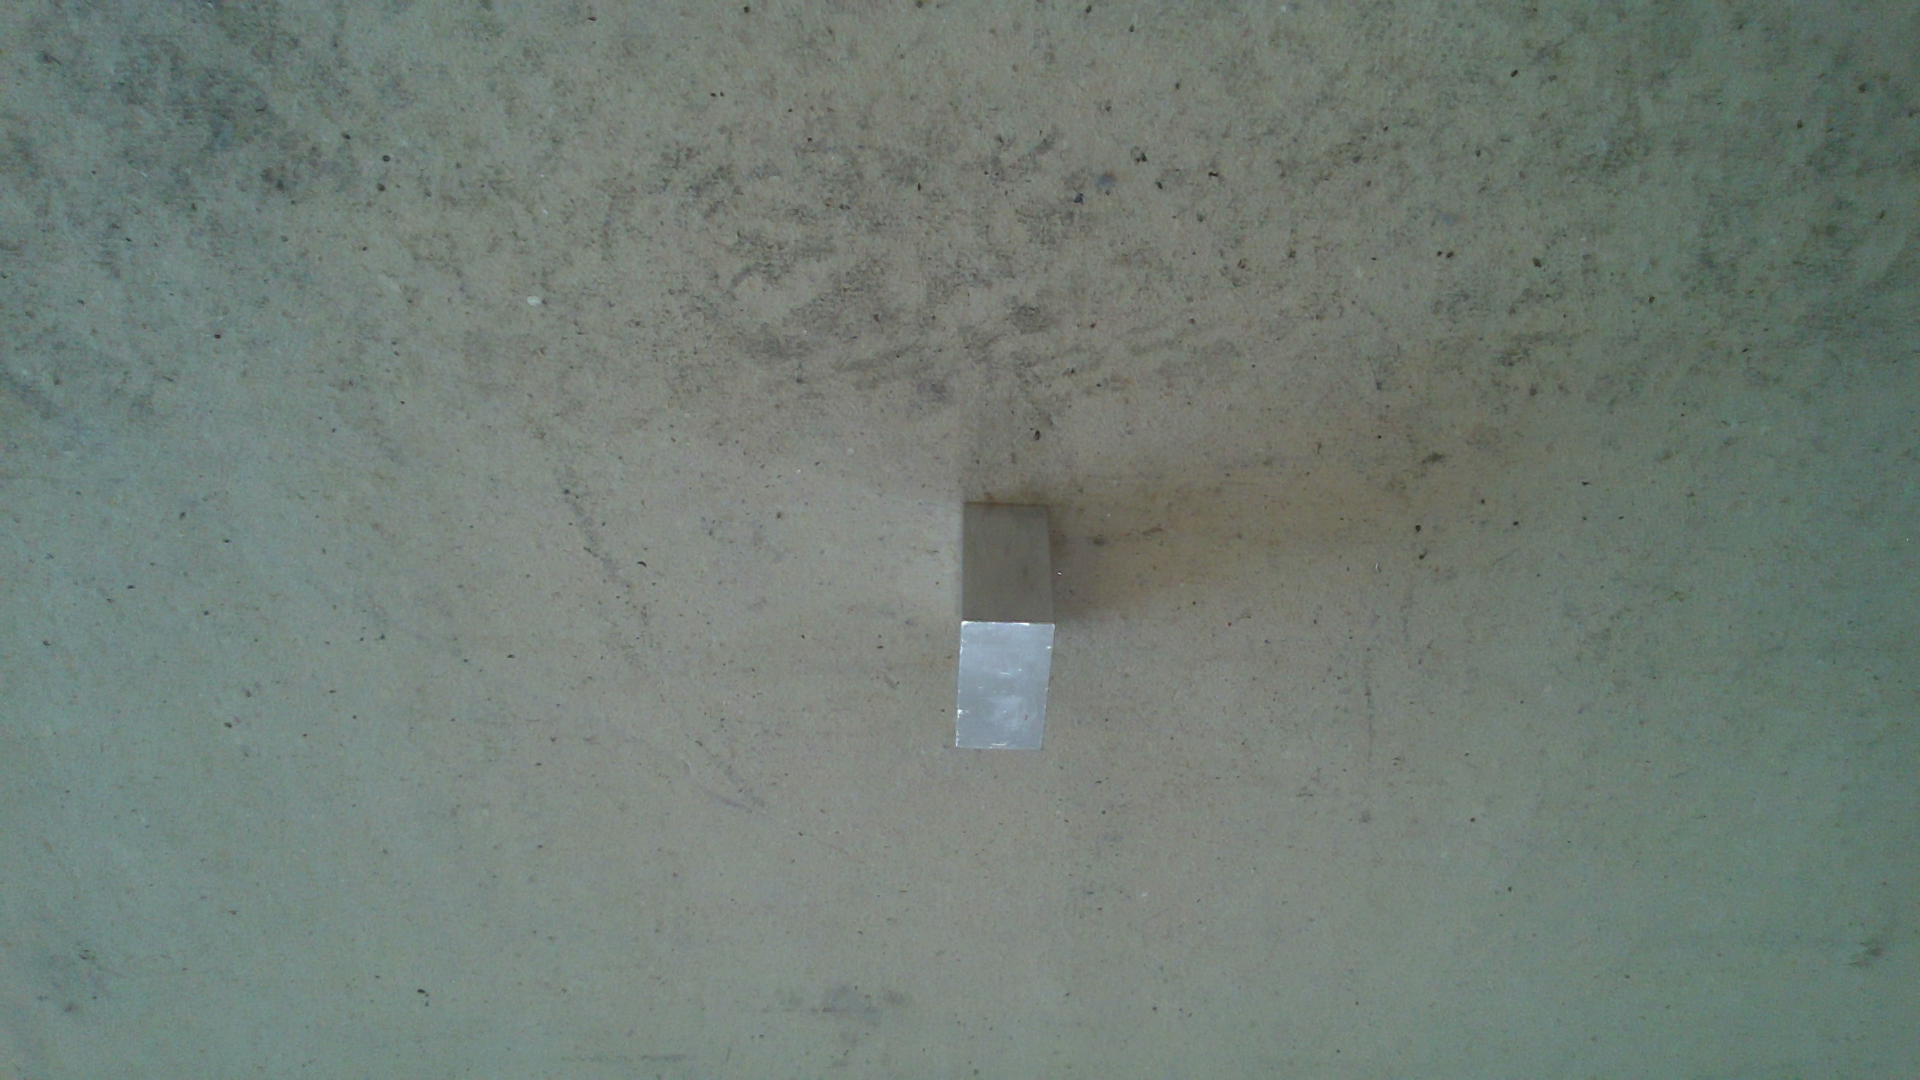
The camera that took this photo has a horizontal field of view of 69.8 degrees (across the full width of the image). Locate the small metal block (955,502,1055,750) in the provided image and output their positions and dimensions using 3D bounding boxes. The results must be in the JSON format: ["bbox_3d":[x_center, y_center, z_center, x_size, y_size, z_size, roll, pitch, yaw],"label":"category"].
[{"bbox_3d":[0.011,0.025,0.395,0.025,0.050,0.050,1,130,-2],"label":"small metal block"}]
